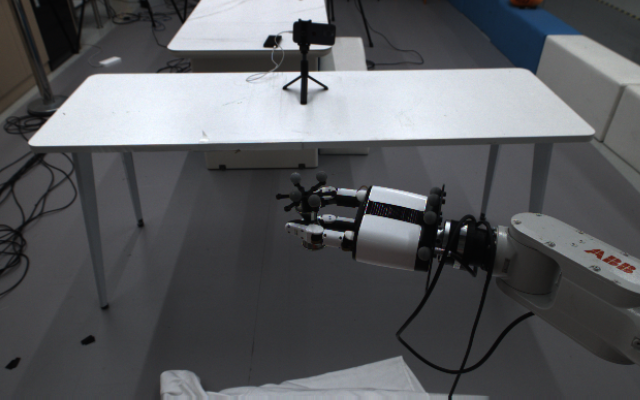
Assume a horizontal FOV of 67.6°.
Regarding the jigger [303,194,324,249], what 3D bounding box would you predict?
[{"bbox_3d":[-0.010,0.033,0.725,0.043,0.071,0.043,-9,31,5],"label":"jigger"}]
